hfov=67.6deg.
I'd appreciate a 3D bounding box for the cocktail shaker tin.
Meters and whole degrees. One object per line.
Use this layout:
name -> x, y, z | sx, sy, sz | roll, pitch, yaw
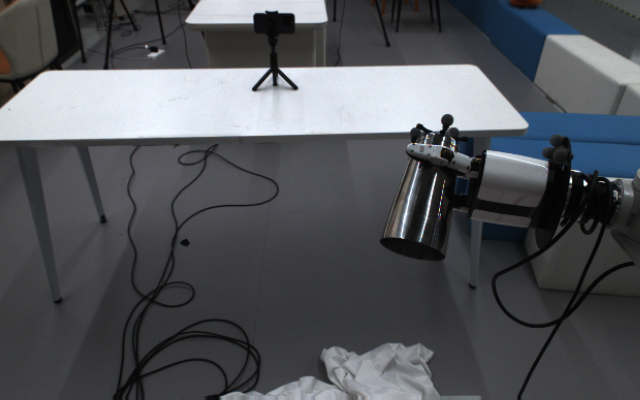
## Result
cocktail shaker tin -> 0.154, -0.011, 0.701 | 0.093, 0.093, 0.170 | 13, 72, 15
